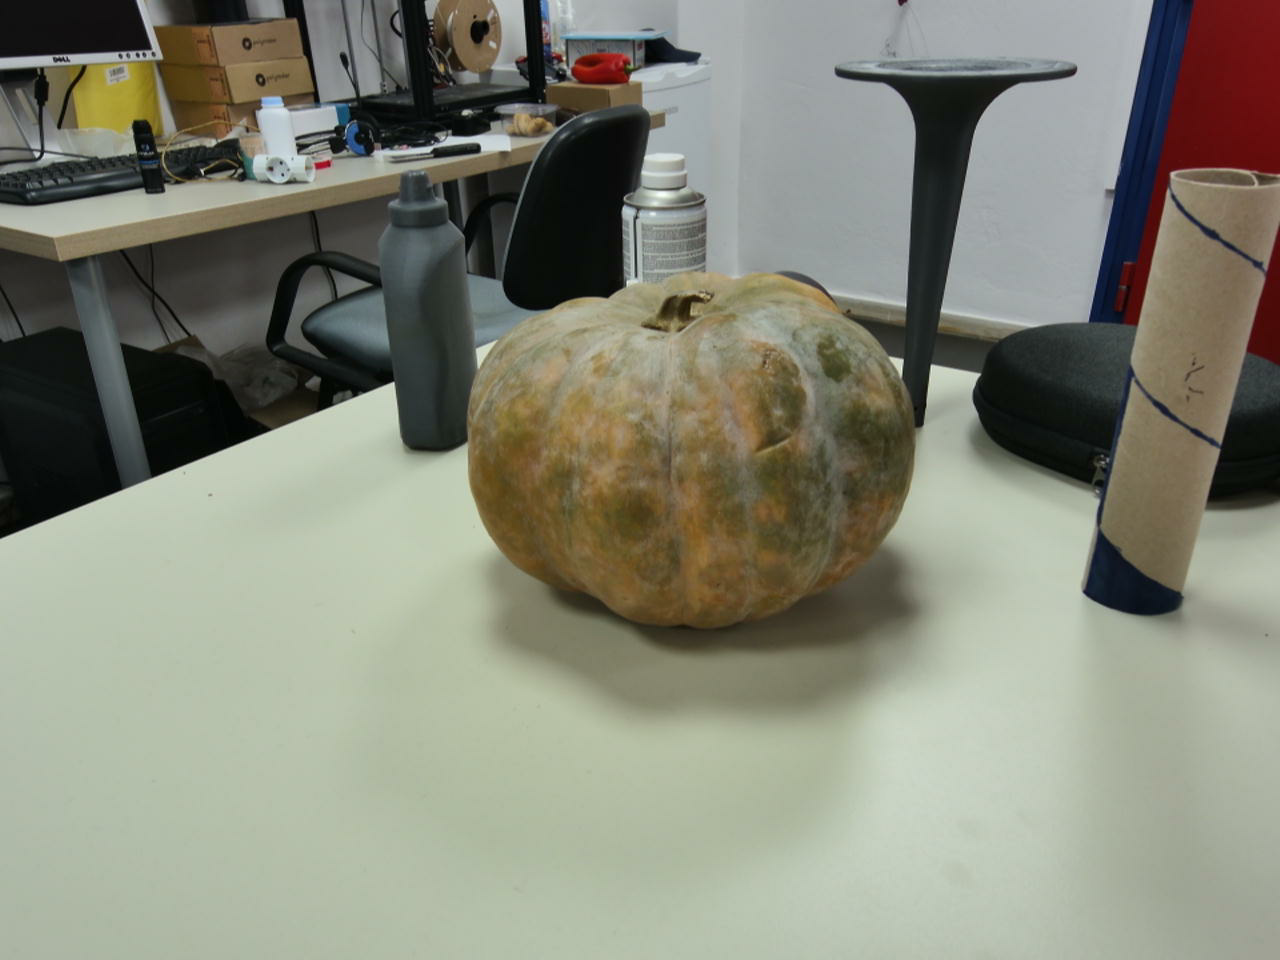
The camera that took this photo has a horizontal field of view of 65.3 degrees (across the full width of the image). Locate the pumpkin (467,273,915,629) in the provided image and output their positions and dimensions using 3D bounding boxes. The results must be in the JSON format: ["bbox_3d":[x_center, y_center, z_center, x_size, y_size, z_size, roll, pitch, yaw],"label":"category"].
[{"bbox_3d":[0.025,-0.025,0.550,0.252,0.169,0.251,0,25,0],"label":"pumpkin"}]
